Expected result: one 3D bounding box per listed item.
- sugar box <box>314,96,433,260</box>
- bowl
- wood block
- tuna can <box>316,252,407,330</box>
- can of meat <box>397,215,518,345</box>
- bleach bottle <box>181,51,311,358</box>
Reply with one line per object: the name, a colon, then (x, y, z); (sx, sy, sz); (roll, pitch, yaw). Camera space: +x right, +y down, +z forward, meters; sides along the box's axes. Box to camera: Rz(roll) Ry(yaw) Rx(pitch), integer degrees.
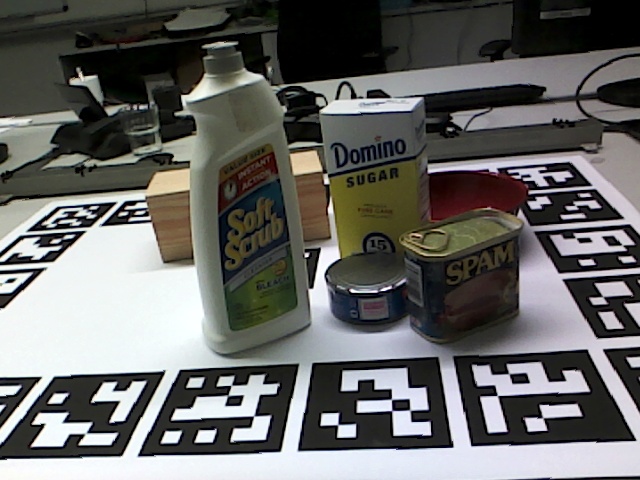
sugar box: (0.058, -0.045, 0.603); (0.093, 0.176, 0.045); (1, 28, 28)
bowl: (0.150, -0.031, 0.694); (0.162, 0.055, 0.162); (-10, 24, 4)
wood block: (-0.105, -0.040, 0.761); (0.206, 0.089, 0.091); (-8, 29, -2)
tuna can: (0.041, 0.046, 0.579); (0.086, 0.033, 0.086); (-8, 28, 4)
can of meat: (0.121, 0.033, 0.539); (0.101, 0.083, 0.058); (-17, 23, -22)
bleach bottle: (-0.073, -0.029, 0.527); (0.102, 0.250, 0.068); (-16, 24, -17)
